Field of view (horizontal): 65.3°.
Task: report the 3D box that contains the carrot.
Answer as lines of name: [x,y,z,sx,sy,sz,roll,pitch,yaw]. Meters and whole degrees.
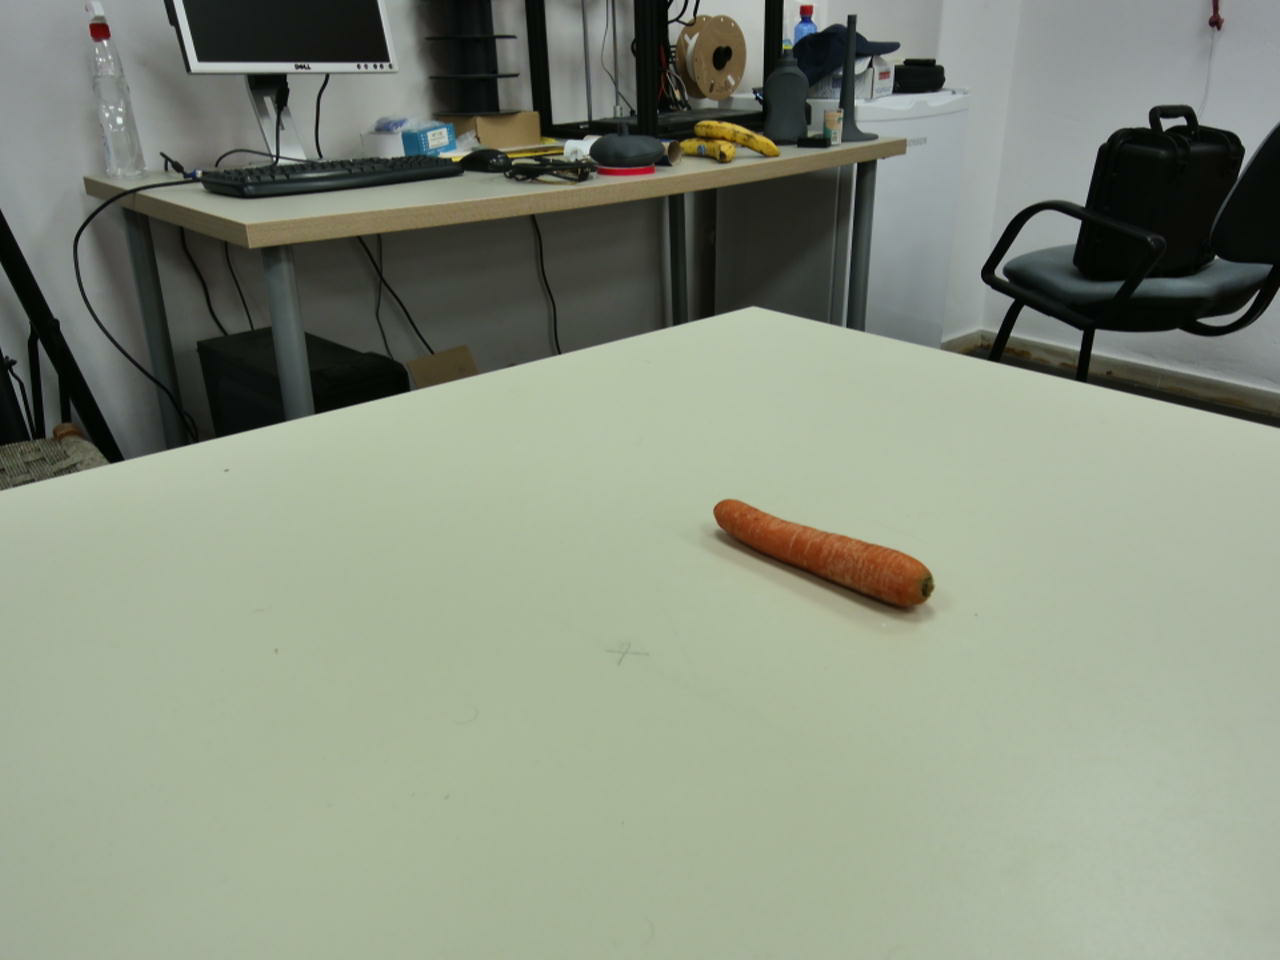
carrot: [0.081,0.031,0.466,0.024,0.023,0.122,-18,28,-39]
